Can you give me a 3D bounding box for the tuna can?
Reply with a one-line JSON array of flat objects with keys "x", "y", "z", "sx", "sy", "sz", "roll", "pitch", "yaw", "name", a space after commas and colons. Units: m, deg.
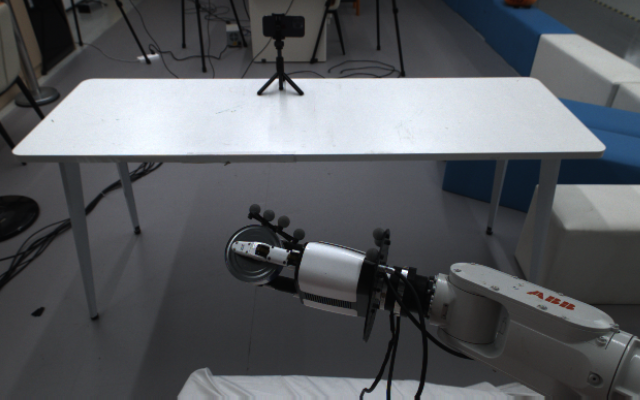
[{"x": -0.093, "y": 0.082, "z": 0.711, "sx": 0.085, "sy": 0.034, "sz": 0.085, "roll": -2, "pitch": 70, "yaw": 6, "name": "tuna can"}]
